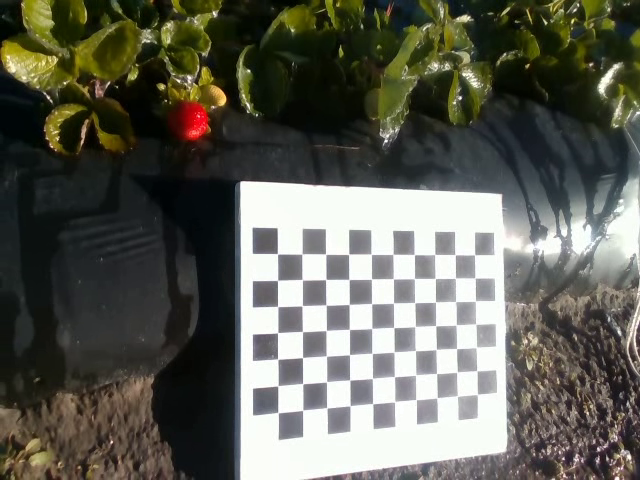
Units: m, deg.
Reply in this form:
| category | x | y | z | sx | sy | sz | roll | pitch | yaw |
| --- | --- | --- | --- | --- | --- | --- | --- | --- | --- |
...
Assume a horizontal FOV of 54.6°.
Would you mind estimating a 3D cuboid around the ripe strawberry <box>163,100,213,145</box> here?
| category | x | y | z | sx | sy | sz | roll | pitch | yaw |
| --- | --- | --- | --- | --- | --- | --- | --- | --- | --- |
| ripe strawberry | -0.090 | -0.079 | 0.431 | 0.039 | 0.040 | 0.039 | -10 | 25 | -12 |
